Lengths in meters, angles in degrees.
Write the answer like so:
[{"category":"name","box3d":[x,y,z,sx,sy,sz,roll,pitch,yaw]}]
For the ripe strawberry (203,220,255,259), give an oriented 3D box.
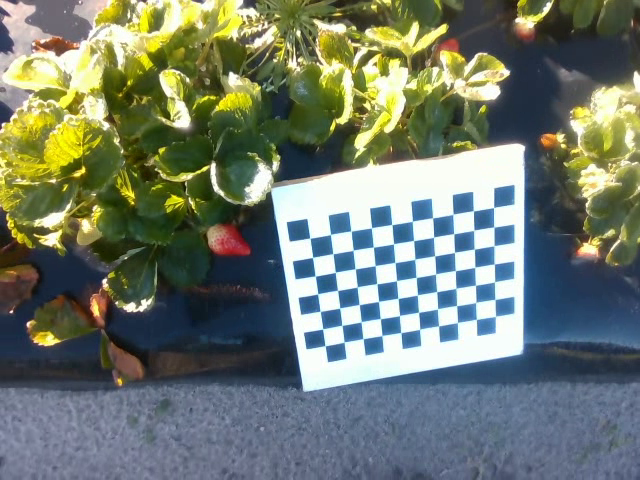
[{"category":"ripe strawberry","box3d":[-0.113,0.008,0.761,0.065,0.040,0.040,30,12,-17]}]
